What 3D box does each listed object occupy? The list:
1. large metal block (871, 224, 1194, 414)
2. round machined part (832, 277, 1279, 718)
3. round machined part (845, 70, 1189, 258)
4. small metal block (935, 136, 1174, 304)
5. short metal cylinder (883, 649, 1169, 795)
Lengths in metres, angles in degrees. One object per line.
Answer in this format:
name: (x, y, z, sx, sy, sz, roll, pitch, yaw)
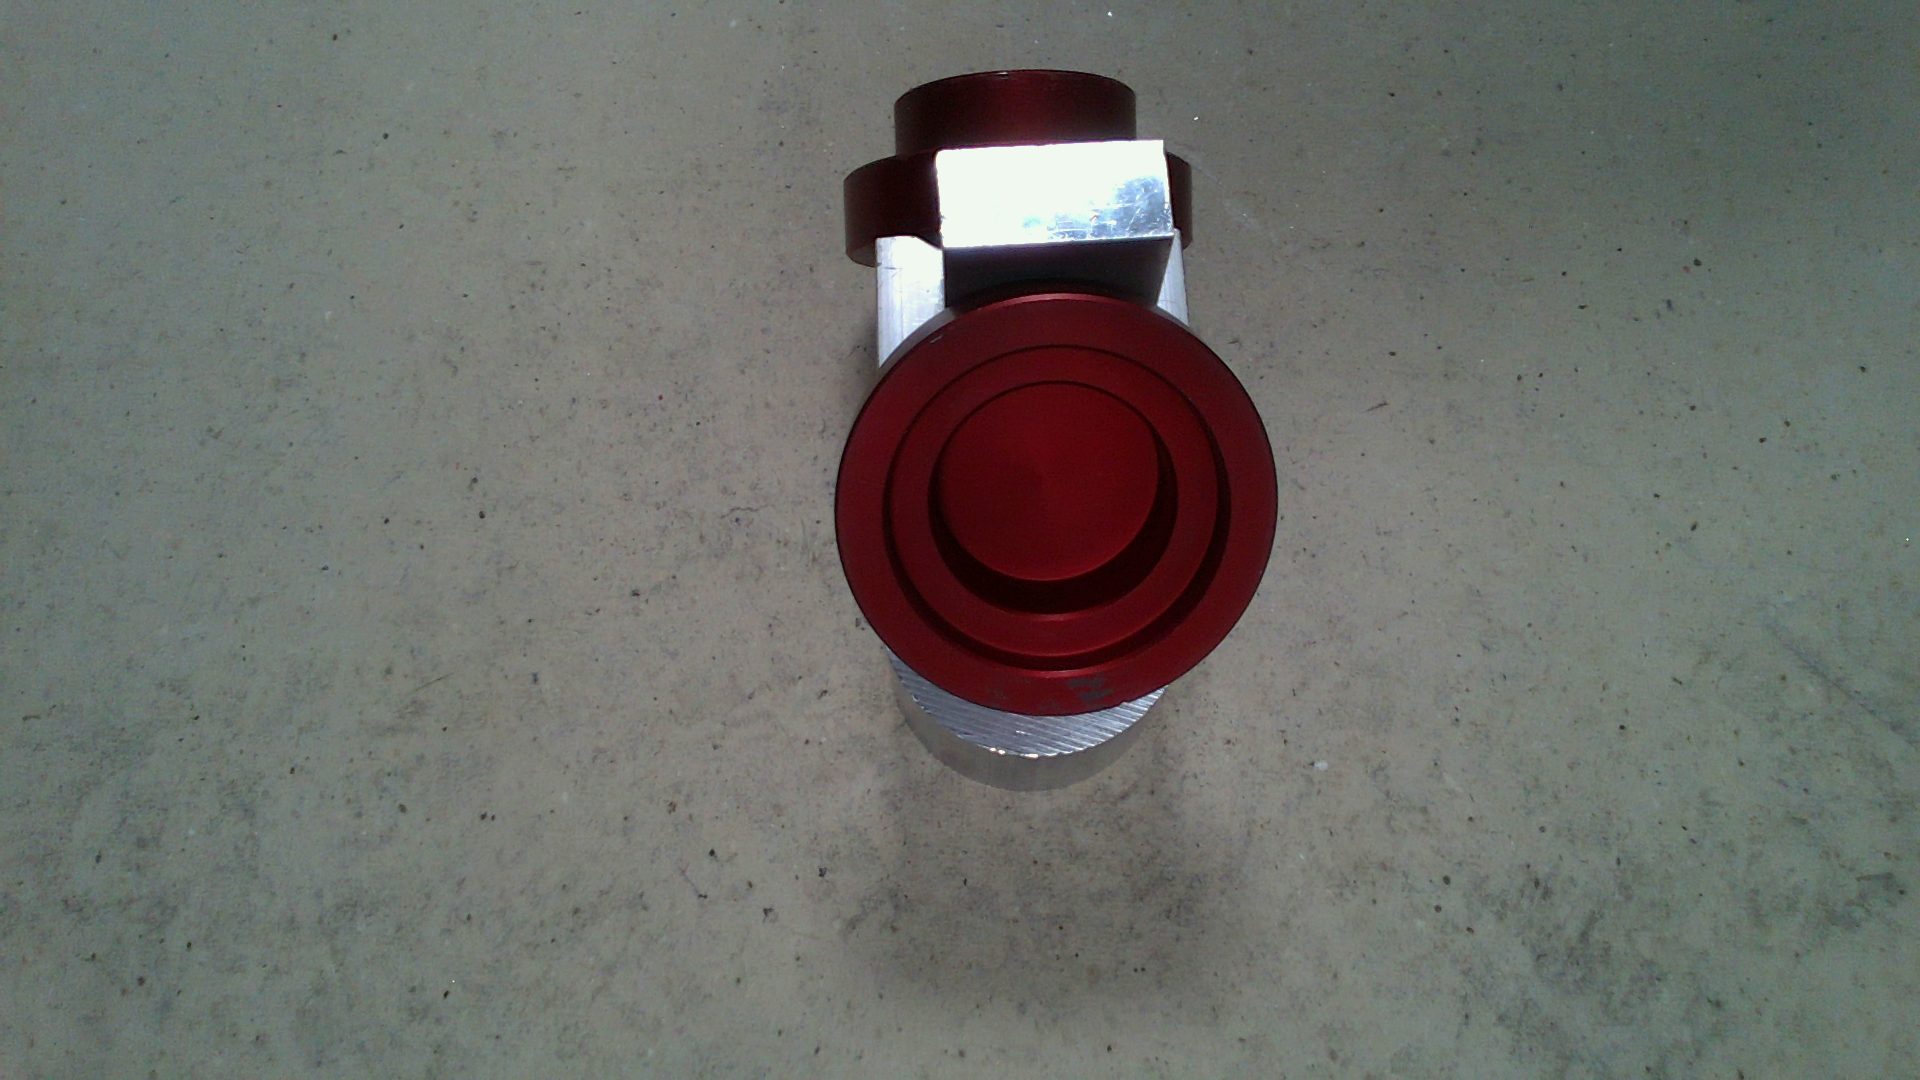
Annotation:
large metal block: (0.019, -0.042, 0.380, 0.080, 0.080, 0.050, -2, 70, -1)
round machined part: (0.021, -0.012, 0.320, 0.098, 0.042, 0.098, 0, 108, -1)
round machined part: (0.015, -0.103, 0.389, 0.098, 0.098, 0.042, -2, 95, -1)
small metal block: (0.020, -0.067, 0.320, 0.050, 0.050, 0.025, -3, 70, -1)
short metal cylinder: (0.019, 0.025, 0.373, 0.080, 0.050, 0.080, 0, 70, 0)
